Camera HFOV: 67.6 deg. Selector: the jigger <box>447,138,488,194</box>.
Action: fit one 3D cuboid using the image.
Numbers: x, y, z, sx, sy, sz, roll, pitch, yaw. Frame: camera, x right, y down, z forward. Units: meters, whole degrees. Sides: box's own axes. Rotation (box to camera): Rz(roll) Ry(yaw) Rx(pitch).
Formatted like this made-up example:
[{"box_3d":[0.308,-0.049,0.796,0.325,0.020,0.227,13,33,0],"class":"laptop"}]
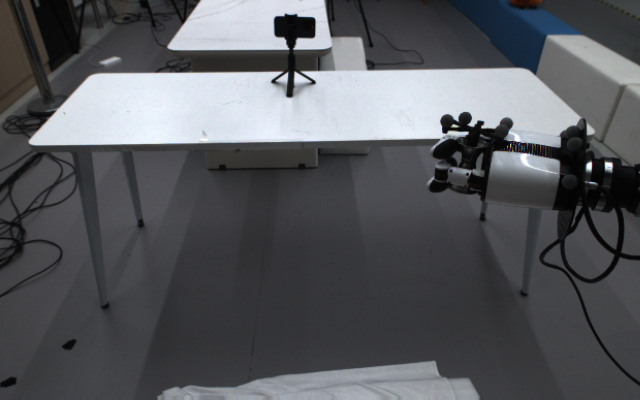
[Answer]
[{"box_3d":[0.207,-0.049,0.671,0.043,0.071,0.043,3,25,-1],"class":"jigger"}]
